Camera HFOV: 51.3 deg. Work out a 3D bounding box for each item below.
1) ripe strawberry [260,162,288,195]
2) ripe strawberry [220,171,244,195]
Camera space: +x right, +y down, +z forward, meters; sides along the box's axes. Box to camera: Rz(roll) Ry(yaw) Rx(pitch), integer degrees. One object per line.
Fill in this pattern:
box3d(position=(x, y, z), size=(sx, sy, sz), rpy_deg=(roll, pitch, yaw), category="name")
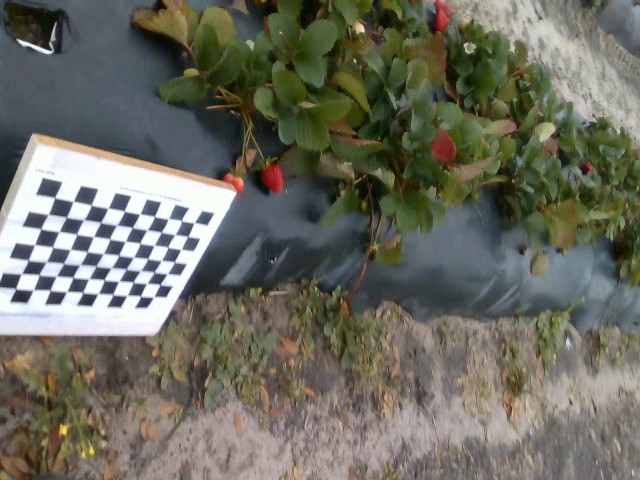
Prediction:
box3d(position=(-0.068, -0.095, 1.013), size=(0.044, 0.059, 0.042), rpy_deg=(-23, 29, -10), category="ripe strawberry")
box3d(position=(-0.122, -0.076, 0.957), size=(0.036, 0.041, 0.027), rpy_deg=(16, 7, -41), category="ripe strawberry")
